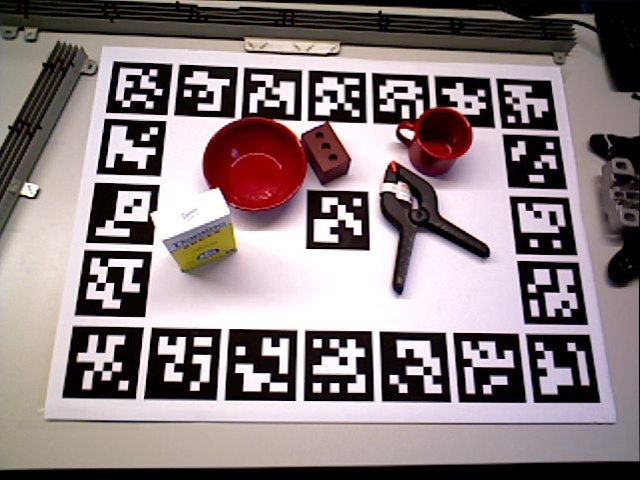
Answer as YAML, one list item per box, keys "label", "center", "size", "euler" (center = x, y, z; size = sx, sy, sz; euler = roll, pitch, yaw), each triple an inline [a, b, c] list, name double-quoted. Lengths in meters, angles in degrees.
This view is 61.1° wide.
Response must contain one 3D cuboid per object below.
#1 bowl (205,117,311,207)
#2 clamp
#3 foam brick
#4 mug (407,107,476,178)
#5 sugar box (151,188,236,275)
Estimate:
- label: "bowl"
  center: [-0.096, -0.111, 0.842]
  size: [0.160, 0.056, 0.160]
  euler: [1, 74, -4]
- label: "clamp"
  center: [0.155, -0.028, 0.837]
  size: [0.164, 0.037, 0.202]
  euler: [-21, 77, -7]
- label: "foam brick"
  center: [0.020, -0.130, 0.863]
  size: [0.052, 0.052, 0.078]
  euler: [-25, 77, -10]
- label: "mug"
  center: [0.190, -0.154, 0.855]
  size: [0.117, 0.082, 0.092]
  euler: [28, 73, 1]
- label: "sugar box"
  center: [-0.166, -0.005, 0.745]
  size: [0.092, 0.179, 0.045]
  euler: [-22, 77, -12]
